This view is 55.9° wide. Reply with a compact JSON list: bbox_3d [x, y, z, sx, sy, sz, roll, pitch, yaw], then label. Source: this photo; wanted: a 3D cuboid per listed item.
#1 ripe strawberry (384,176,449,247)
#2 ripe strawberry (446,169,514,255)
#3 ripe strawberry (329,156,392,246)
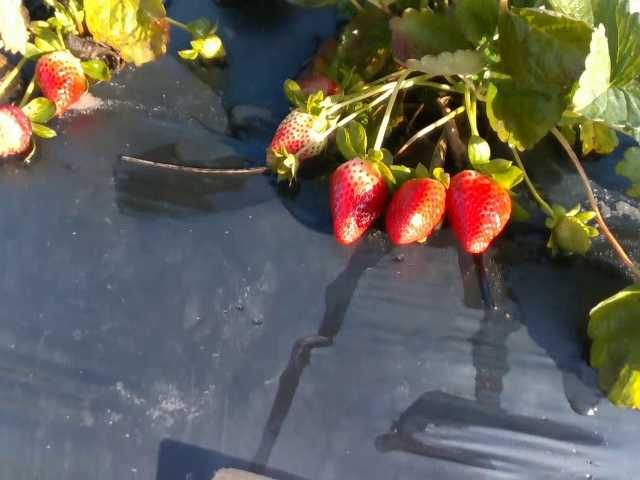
[{"bbox_3d":[0.043,-0.013,0.275,0.030,0.037,0.039,23,31,8],"label":"ripe strawberry"},{"bbox_3d":[0.072,-0.007,0.275,0.035,0.034,0.041,9,43,9],"label":"ripe strawberry"},{"bbox_3d":[0.017,-0.019,0.286,0.031,0.046,0.023,13,-11,8],"label":"ripe strawberry"}]
